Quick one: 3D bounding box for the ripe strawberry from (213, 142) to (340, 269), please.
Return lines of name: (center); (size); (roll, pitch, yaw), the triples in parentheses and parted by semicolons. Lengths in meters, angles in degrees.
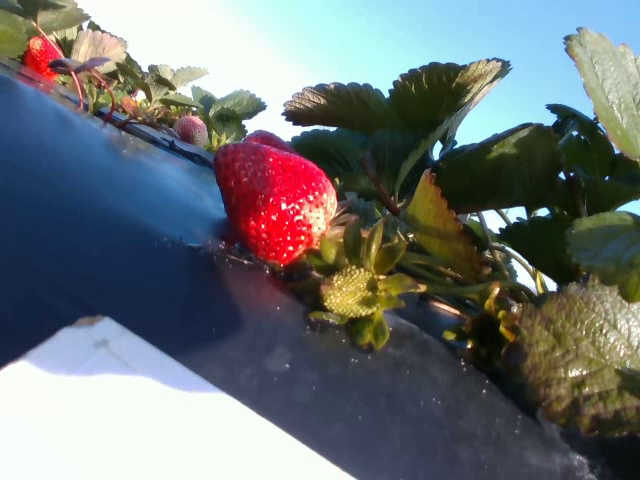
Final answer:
ripe strawberry: (-0.016, -0.017, 0.209); (0.038, 0.043, 0.053); (-36, -49, 13)
